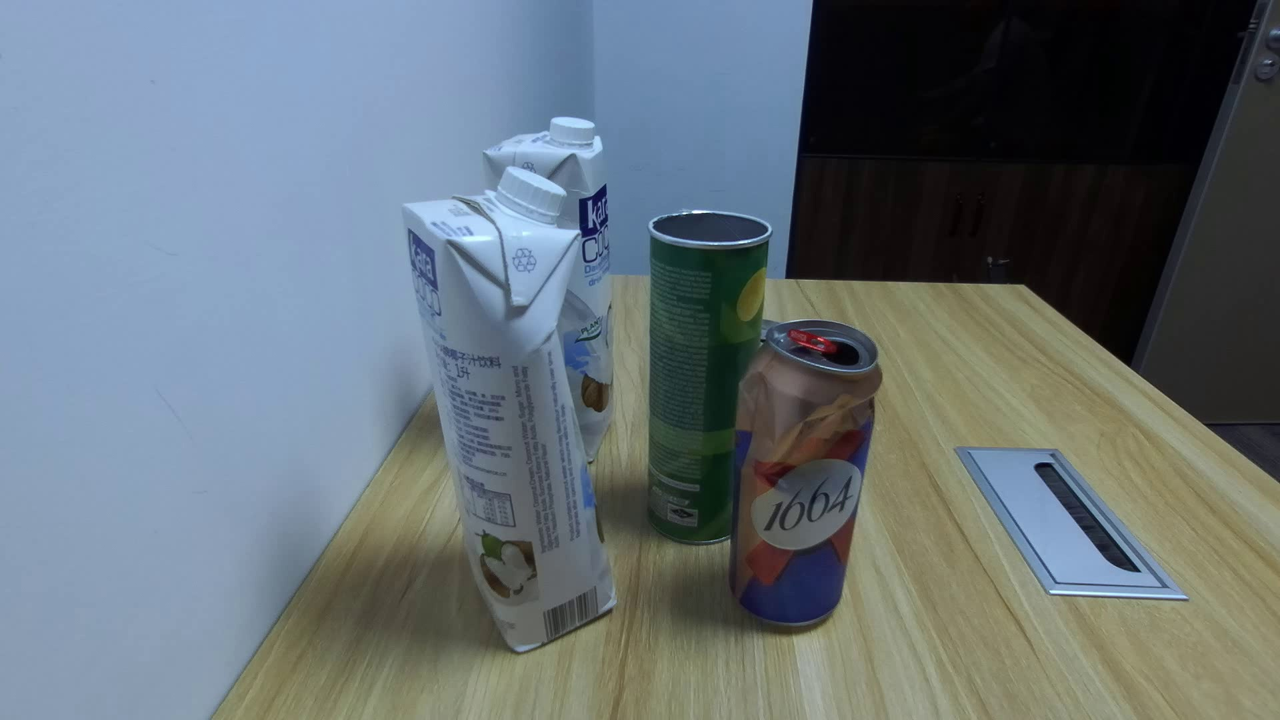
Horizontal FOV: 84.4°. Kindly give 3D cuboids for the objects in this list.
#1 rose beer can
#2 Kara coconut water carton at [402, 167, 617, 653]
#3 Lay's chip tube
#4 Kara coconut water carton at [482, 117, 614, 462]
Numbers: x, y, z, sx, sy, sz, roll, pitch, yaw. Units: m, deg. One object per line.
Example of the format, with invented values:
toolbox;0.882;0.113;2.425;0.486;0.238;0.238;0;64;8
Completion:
rose beer can;0.087;0.065;0.379;0.076;0.167;0.065;-6;30;-18
Kara coconut water carton;-0.064;0.029;0.367;0.071;0.244;0.099;-17;31;-27
Lay's chip tube;0.039;0.014;0.440;0.071;0.202;0.071;1;26;0
Kara coconut water carton;-0.058;-0.047;0.516;0.075;0.245;0.077;6;26;15
